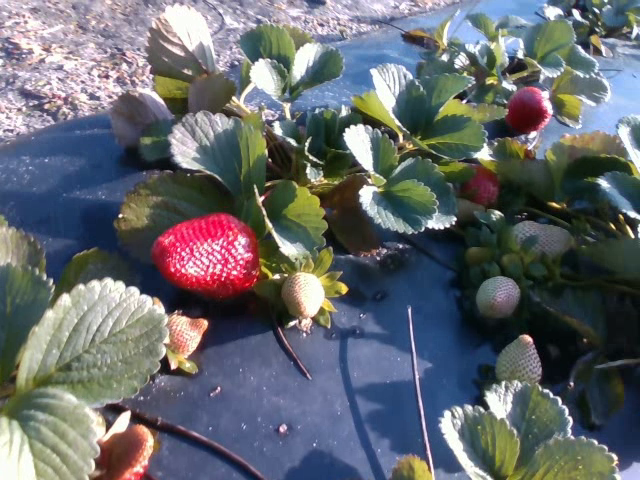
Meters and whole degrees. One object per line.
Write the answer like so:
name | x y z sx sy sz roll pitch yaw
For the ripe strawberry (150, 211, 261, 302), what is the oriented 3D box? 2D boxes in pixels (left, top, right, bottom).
ripe strawberry | -0.064 0.007 0.323 0.056 0.055 0.072 -17 5 31
